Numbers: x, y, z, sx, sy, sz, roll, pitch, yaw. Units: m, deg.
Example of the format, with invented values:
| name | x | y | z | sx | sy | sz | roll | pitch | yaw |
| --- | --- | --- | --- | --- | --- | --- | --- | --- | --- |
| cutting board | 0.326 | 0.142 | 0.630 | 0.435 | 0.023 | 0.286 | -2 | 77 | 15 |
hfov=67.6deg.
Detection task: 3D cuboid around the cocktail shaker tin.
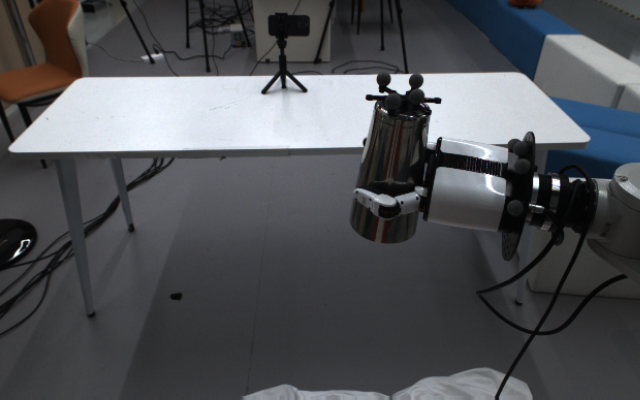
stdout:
| name | x | y | z | sx | sy | sz | roll | pitch | yaw |
| --- | --- | --- | --- | --- | --- | --- | --- | --- | --- |
| cocktail shaker tin | 0.093 | -0.041 | 0.614 | 0.093 | 0.170 | 0.093 | 3 | 34 | -2 |
